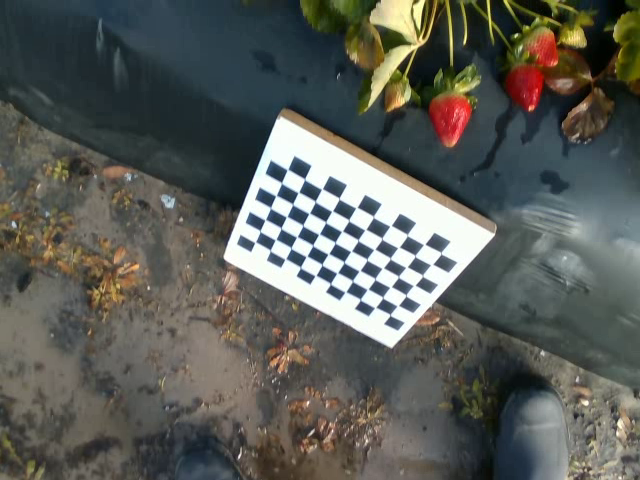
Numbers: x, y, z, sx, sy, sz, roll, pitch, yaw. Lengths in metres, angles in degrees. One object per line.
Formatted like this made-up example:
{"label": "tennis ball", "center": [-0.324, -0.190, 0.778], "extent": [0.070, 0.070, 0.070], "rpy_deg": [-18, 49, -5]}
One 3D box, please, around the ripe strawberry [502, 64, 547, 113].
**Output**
{"label": "ripe strawberry", "center": [0.224, -0.163, 0.644], "extent": [0.044, 0.055, 0.041], "rpy_deg": [-26, -26, 38]}

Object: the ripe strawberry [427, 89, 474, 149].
{"label": "ripe strawberry", "center": [0.144, -0.134, 0.647], "extent": [0.050, 0.065, 0.049], "rpy_deg": [-2, -18, 26]}
